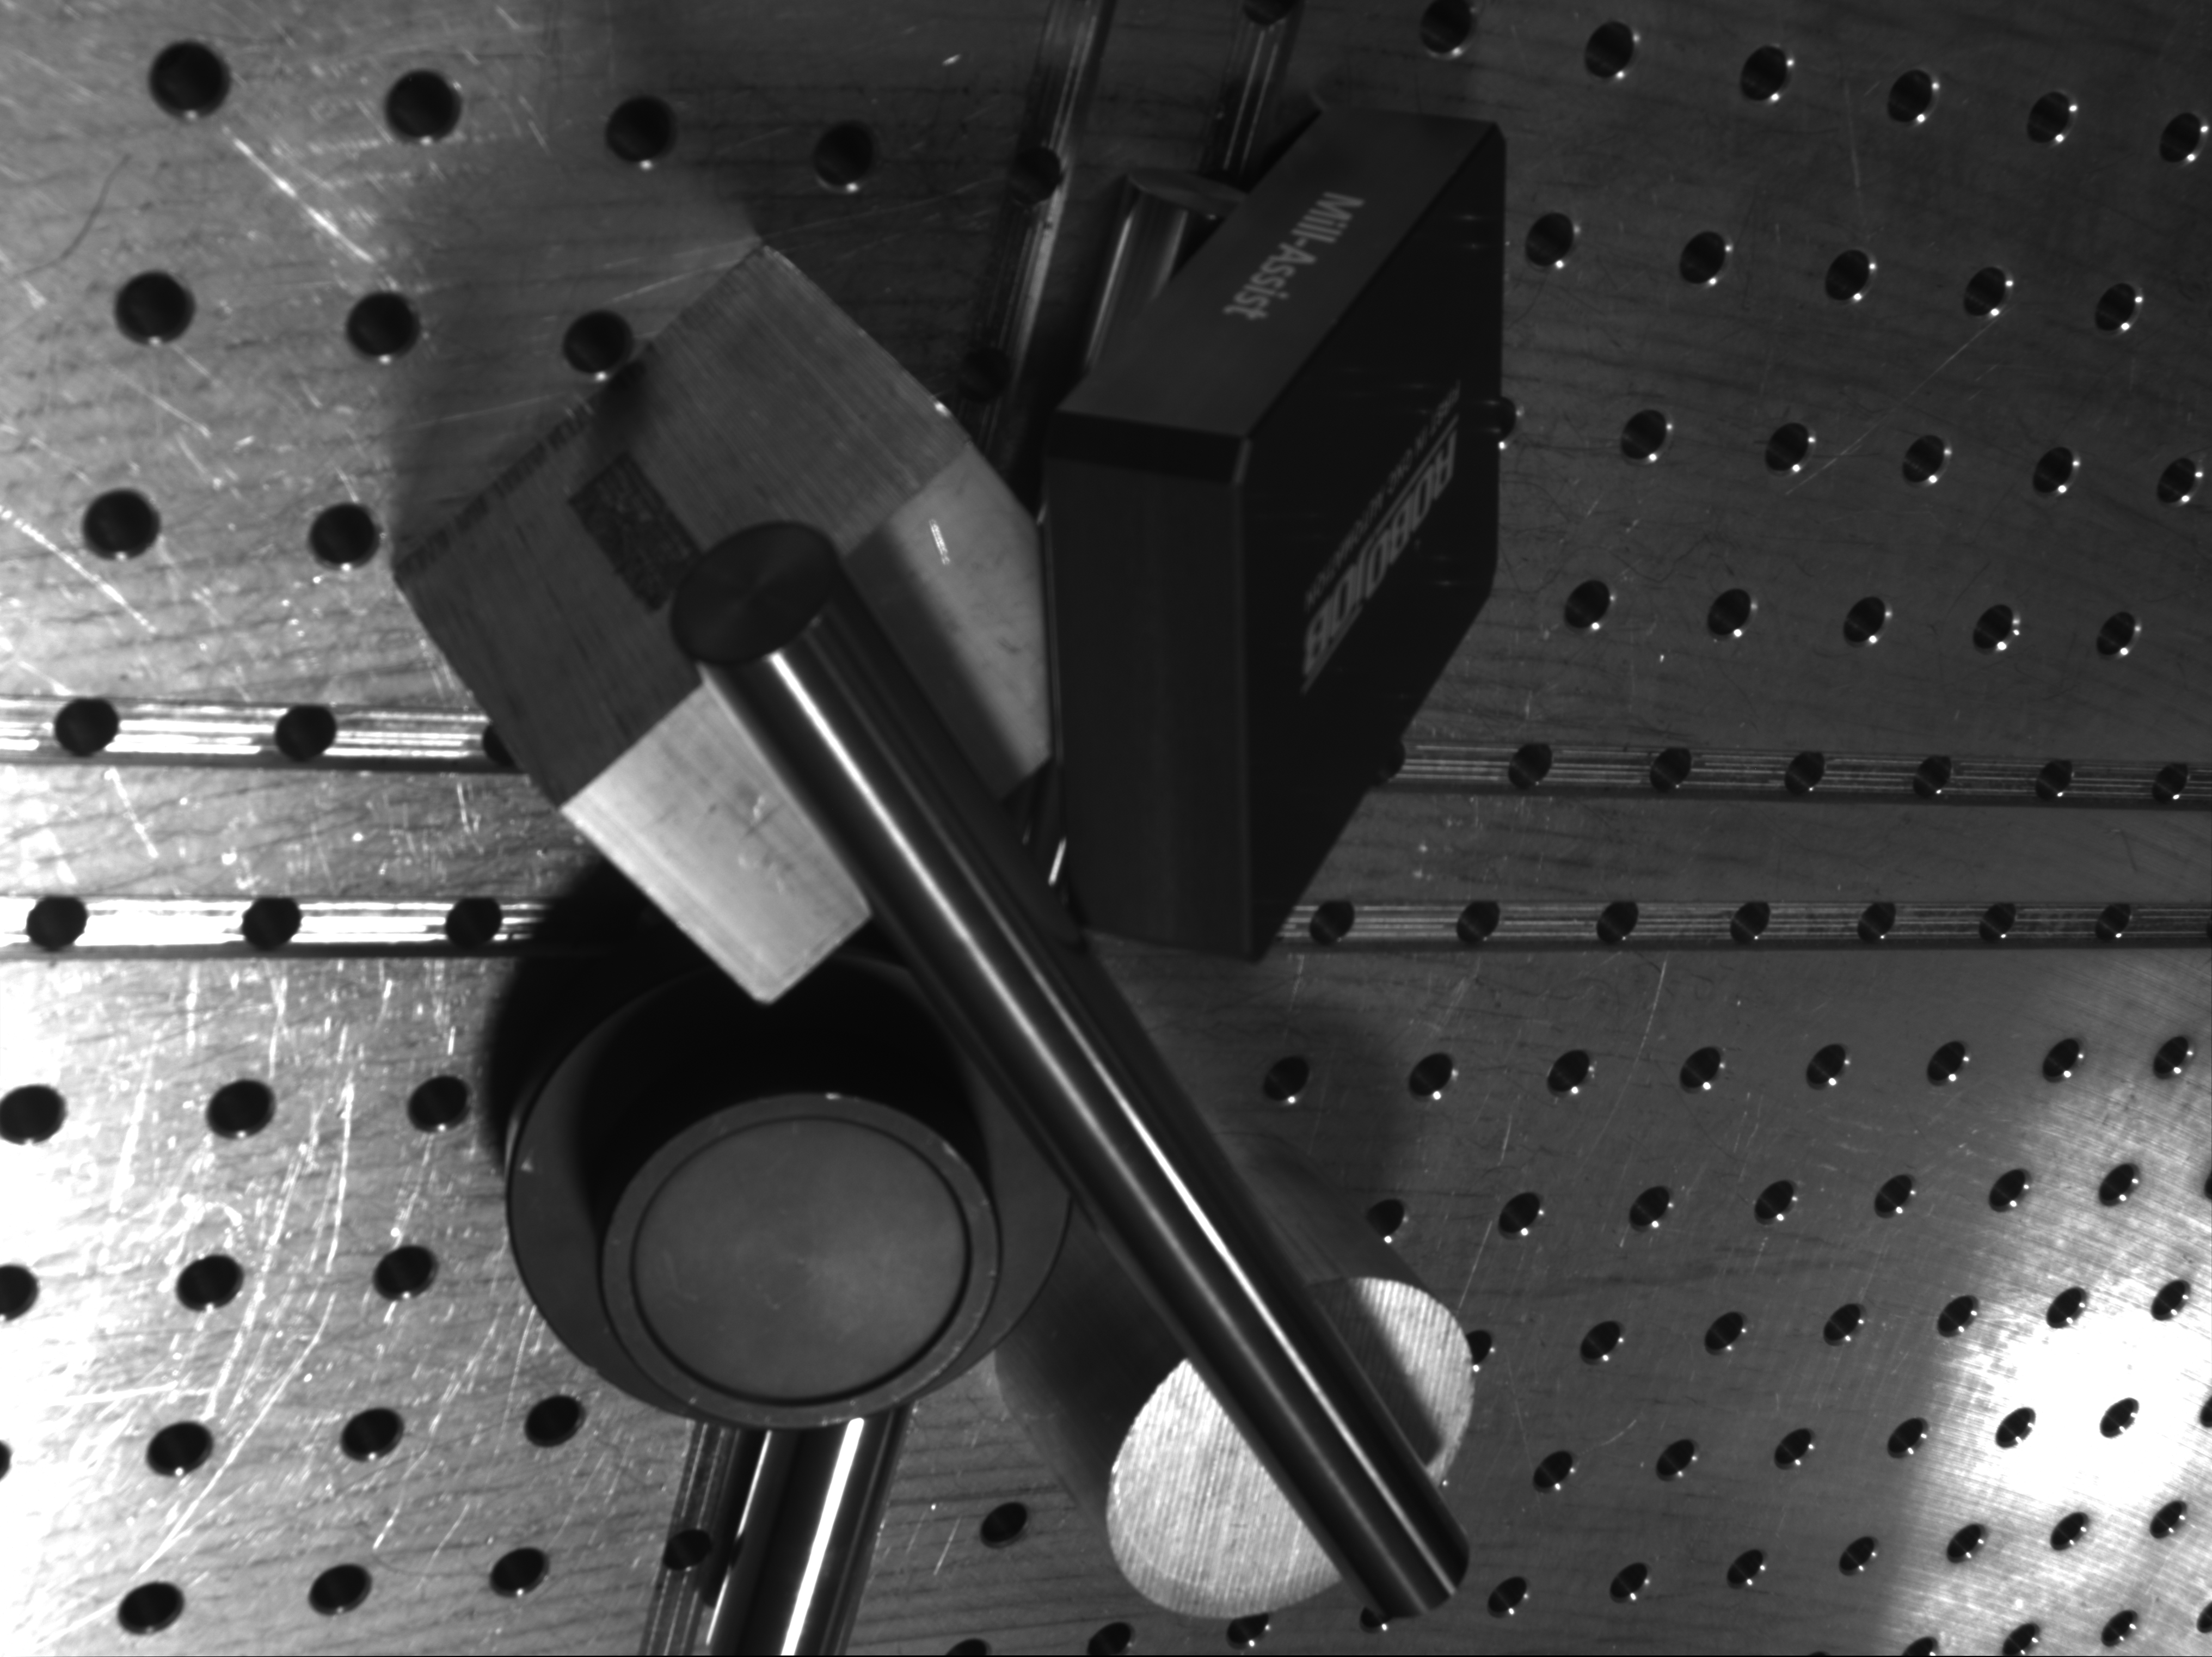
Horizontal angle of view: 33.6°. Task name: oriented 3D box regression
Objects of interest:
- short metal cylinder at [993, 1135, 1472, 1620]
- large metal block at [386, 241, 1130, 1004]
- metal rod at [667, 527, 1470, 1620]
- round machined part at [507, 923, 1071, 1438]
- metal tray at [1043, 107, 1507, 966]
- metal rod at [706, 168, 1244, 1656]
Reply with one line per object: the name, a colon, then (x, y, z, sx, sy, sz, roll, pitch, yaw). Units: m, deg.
short metal cylinder: (0.025, 0.108, 0.719, 0.080, 0.050, 0.080, -15, 125, -22)
large metal block: (-0.054, -0.034, 0.567, 0.080, 0.080, 0.050, -42, 130, -1)
metal rod: (0.006, 0.056, 0.599, 0.025, 0.025, 0.301, -37, 138, -5)
round machined part: (-0.053, 0.065, 0.632, 0.098, 0.042, 0.098, -5, 117, -9)
metal tray: (0.031, -0.050, 0.586, 0.130, 0.030, 0.090, -54, 148, -51)
metal rod: (-0.025, 0.029, 0.657, 0.025, 0.025, 0.300, 2, 117, -31)
